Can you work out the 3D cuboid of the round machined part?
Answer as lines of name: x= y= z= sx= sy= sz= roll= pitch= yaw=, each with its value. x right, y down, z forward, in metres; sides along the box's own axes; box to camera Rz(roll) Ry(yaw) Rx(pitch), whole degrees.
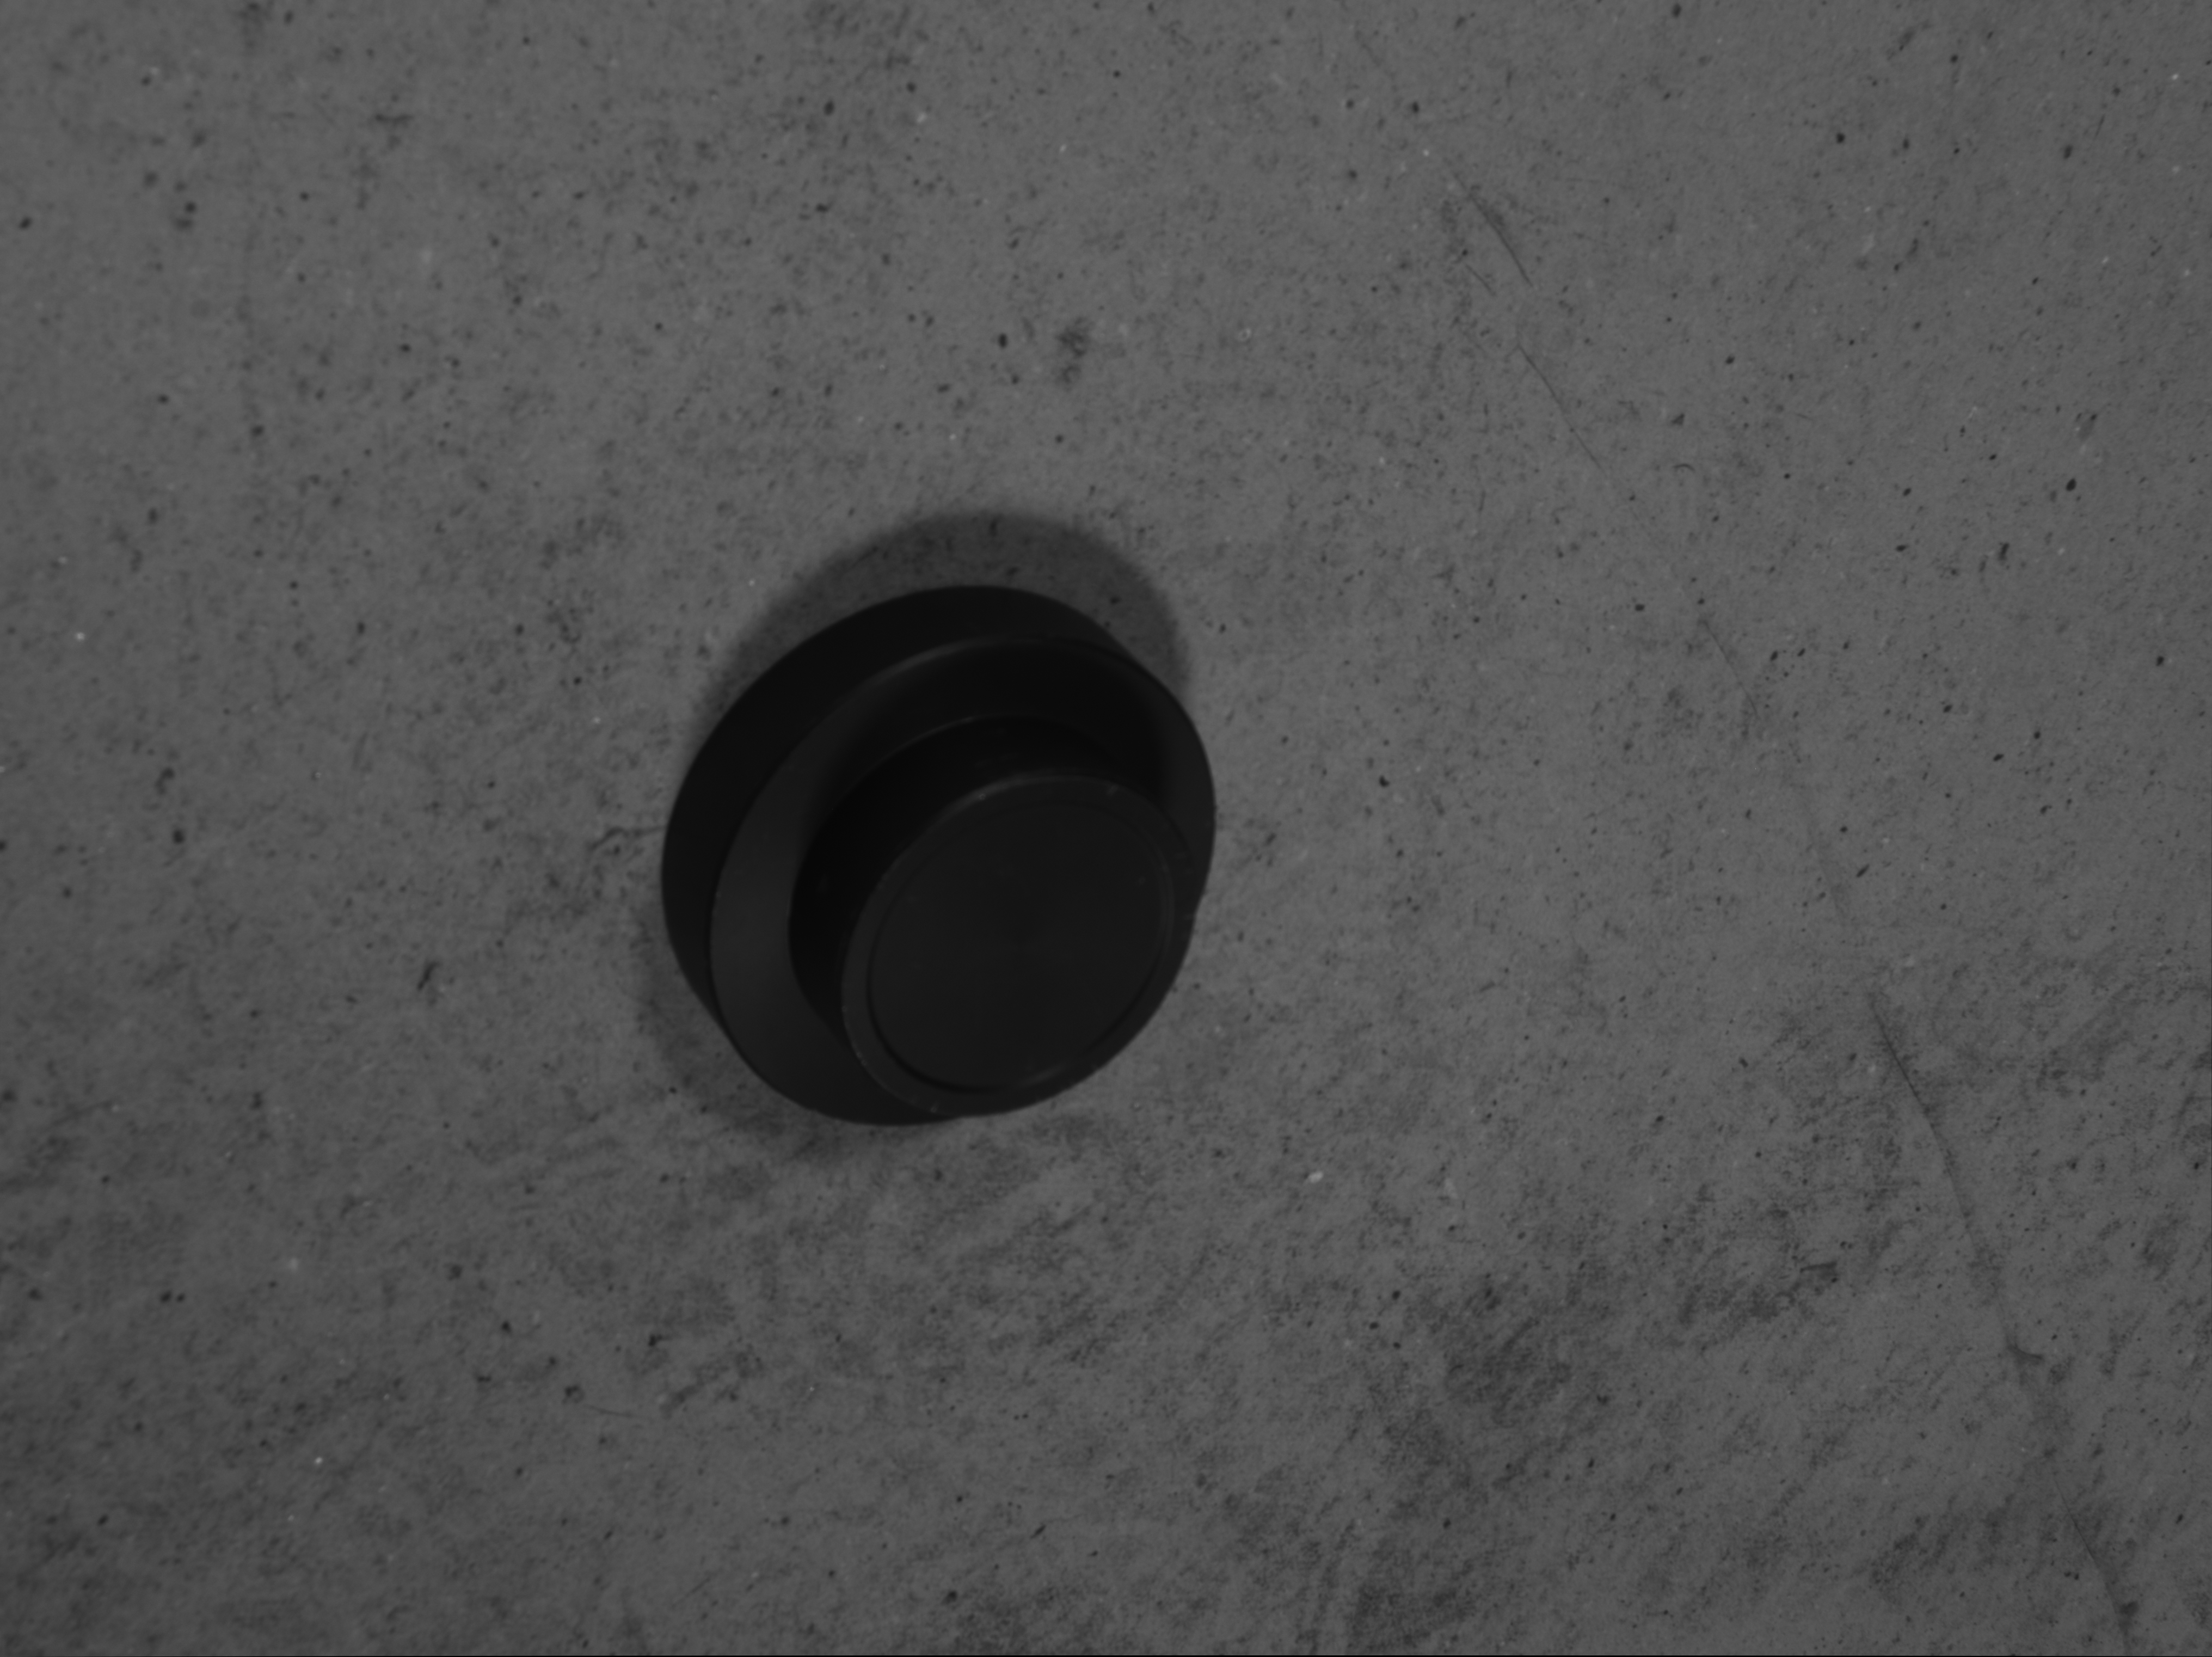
round machined part: x=-0.017 y=0.012 z=0.637 sx=0.098 sy=0.042 sz=0.098 roll=-15 pitch=125 yaw=-22
